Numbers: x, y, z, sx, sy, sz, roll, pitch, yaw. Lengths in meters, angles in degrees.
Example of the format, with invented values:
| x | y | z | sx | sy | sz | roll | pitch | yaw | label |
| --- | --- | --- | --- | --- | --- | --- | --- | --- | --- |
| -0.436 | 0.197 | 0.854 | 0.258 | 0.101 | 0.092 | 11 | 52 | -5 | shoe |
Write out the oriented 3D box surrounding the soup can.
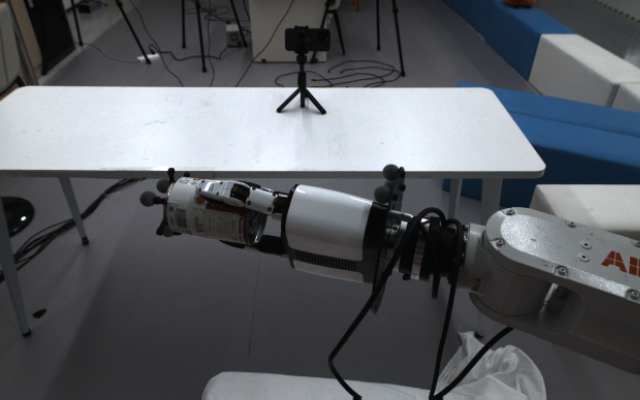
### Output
| x | y | z | sx | sy | sz | roll | pitch | yaw | label |
| --- | --- | --- | --- | --- | --- | --- | --- | --- | --- |
| -0.116 | 0.013 | 0.561 | 0.101 | 0.067 | 0.067 | 9 | 35 | 10 | soup can |
